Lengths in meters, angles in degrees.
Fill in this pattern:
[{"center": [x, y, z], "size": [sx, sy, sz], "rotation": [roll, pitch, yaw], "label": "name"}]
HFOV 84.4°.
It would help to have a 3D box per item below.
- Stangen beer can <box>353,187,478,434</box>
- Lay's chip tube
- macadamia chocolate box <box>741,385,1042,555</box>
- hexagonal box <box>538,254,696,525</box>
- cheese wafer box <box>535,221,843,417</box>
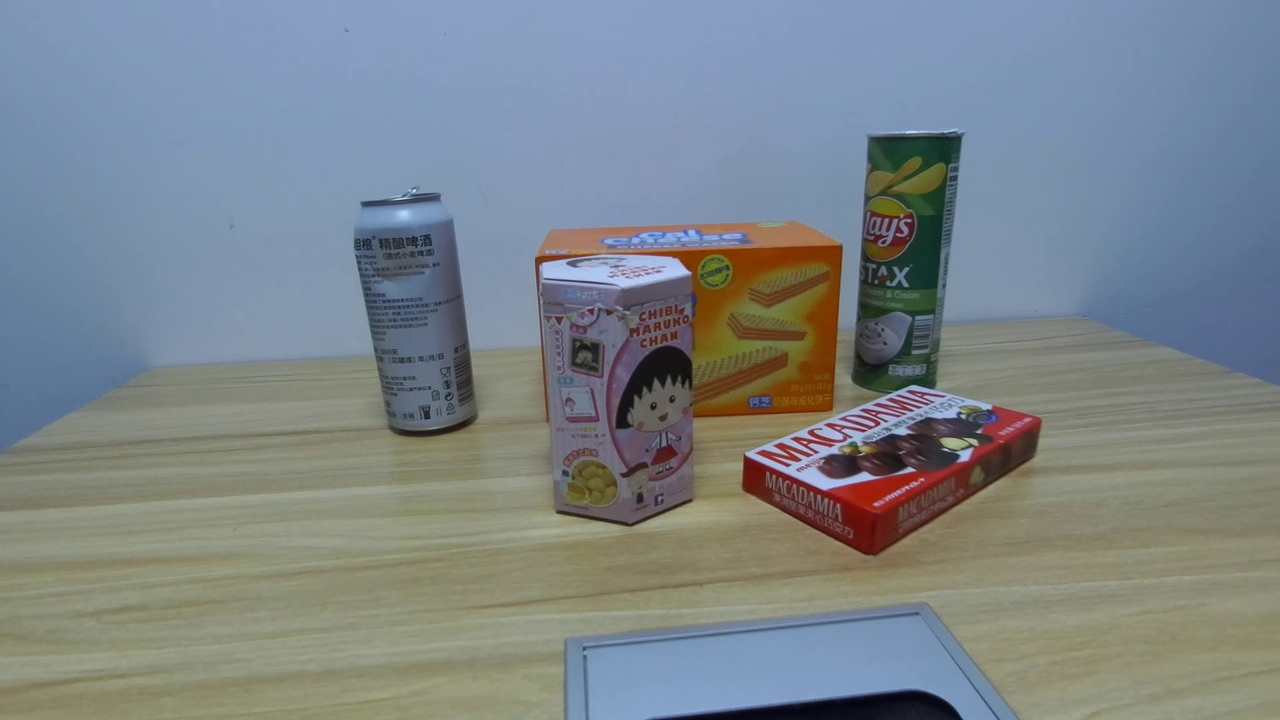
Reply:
[{"center": [-0.163, -0.034, 0.517], "size": [0.070, 0.173, 0.069], "rotation": [-8, 16, -18], "label": "Stangen beer can"}, {"center": [0.212, -0.078, 0.565], "size": [0.071, 0.202, 0.071], "rotation": [-2, 17, 1], "label": "Lay's chip tube"}, {"center": [0.158, 0.058, 0.435], "size": [0.178, 0.027, 0.095], "rotation": [-15, 21, -35], "label": "macadamia chocolate box"}, {"center": [-0.012, 0.014, 0.403], "size": [0.091, 0.136, 0.083], "rotation": [-15, 22, -36], "label": "hexagonal box"}, {"center": [0.035, -0.037, 0.577], "size": [0.222, 0.129, 0.148], "rotation": [-2, 17, -3], "label": "cheese wafer box"}]
